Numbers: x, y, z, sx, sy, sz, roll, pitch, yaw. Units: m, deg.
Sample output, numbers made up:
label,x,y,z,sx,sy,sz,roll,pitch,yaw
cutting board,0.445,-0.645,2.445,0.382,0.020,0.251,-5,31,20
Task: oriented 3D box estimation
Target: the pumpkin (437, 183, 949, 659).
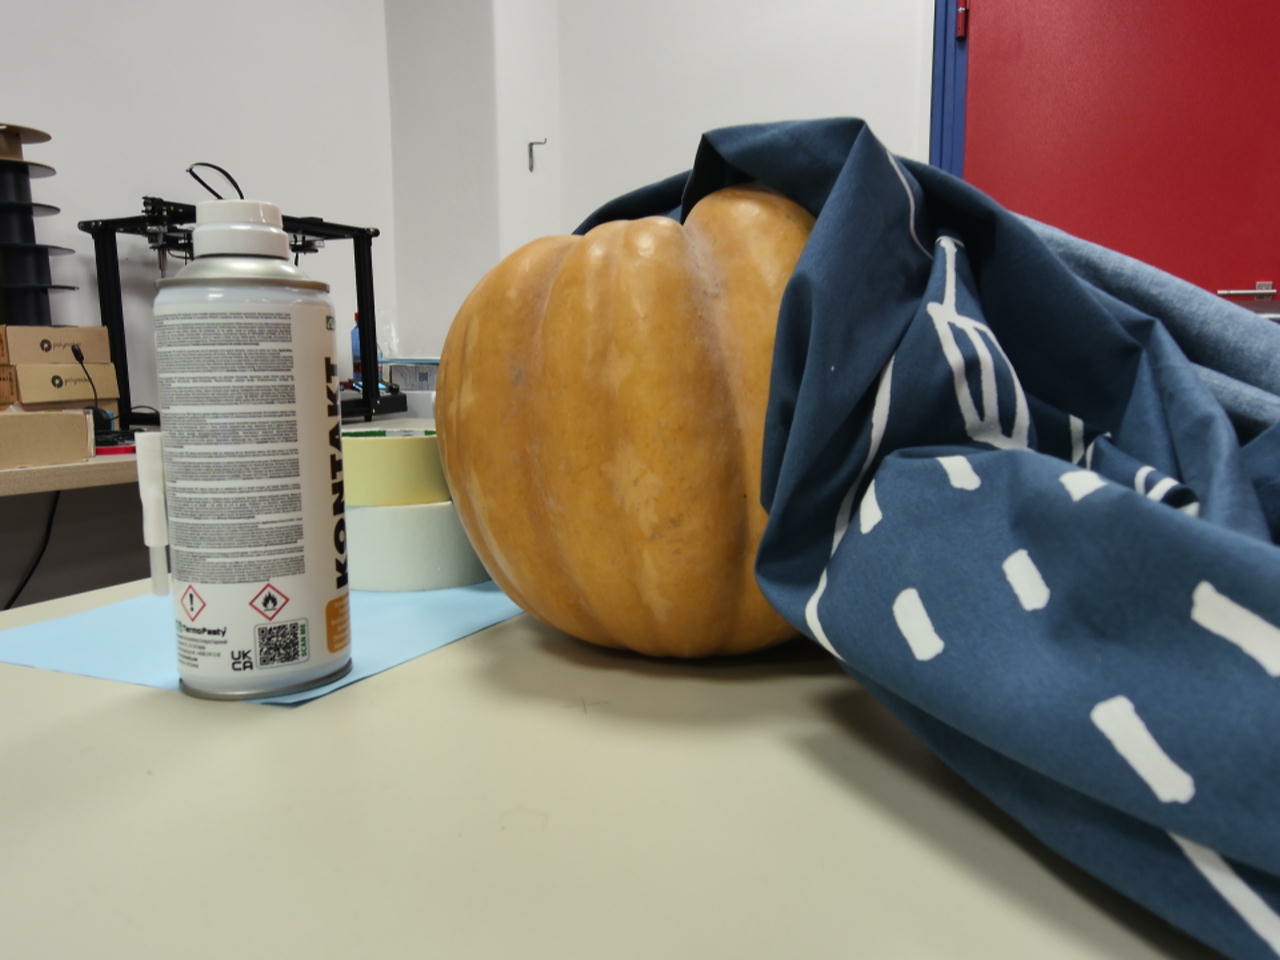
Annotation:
label,x,y,z,sx,sy,sz,roll,pitch,yaw
pumpkin,0.024,-0.023,0.444,0.230,0.194,0.230,0,3,0
